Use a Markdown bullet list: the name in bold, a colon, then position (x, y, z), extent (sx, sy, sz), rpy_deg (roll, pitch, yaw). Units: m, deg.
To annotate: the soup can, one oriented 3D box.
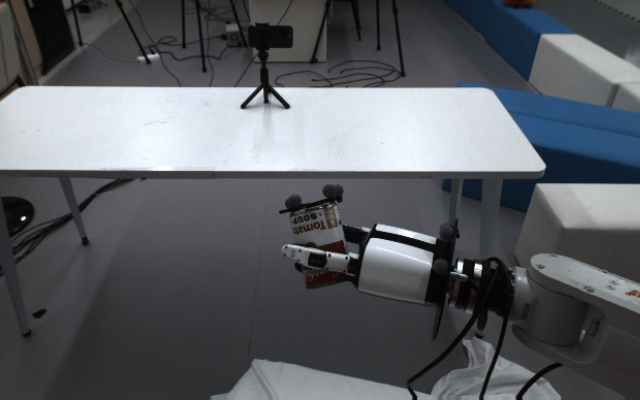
- **soup can**: position (0.003, 0.060, 0.645), extent (0.067, 0.101, 0.067), rpy_deg (-14, -2, -1)
